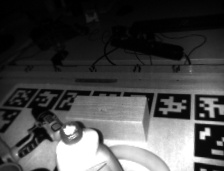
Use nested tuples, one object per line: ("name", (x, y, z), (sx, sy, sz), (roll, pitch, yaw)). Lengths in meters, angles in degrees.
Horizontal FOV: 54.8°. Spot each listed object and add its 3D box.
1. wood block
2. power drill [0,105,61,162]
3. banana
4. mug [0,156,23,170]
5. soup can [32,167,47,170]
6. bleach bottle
("wood block", (-0.012, 0.081, 0.602), (0.204, 0.092, 0.090), (0, 43, 17))
("power drill", (-0.250, 0.148, 0.627), (0.182, 0.058, 0.188), (27, 54, 35))
("banana", (0.047, 0.157, 0.530), (0.195, 0.039, 0.074), (14, 61, 27))
("mug", (-0.245, 0.232, 0.498), (0.118, 0.082, 0.092), (-32, 45, -15))
("soup can", (-0.145, 0.219, 0.460), (0.068, 0.103, 0.067), (-7, 37, 6))
("bleach bottle", (-0.033, 0.148, 0.401), (0.067, 0.253, 0.103), (25, 53, 39))
